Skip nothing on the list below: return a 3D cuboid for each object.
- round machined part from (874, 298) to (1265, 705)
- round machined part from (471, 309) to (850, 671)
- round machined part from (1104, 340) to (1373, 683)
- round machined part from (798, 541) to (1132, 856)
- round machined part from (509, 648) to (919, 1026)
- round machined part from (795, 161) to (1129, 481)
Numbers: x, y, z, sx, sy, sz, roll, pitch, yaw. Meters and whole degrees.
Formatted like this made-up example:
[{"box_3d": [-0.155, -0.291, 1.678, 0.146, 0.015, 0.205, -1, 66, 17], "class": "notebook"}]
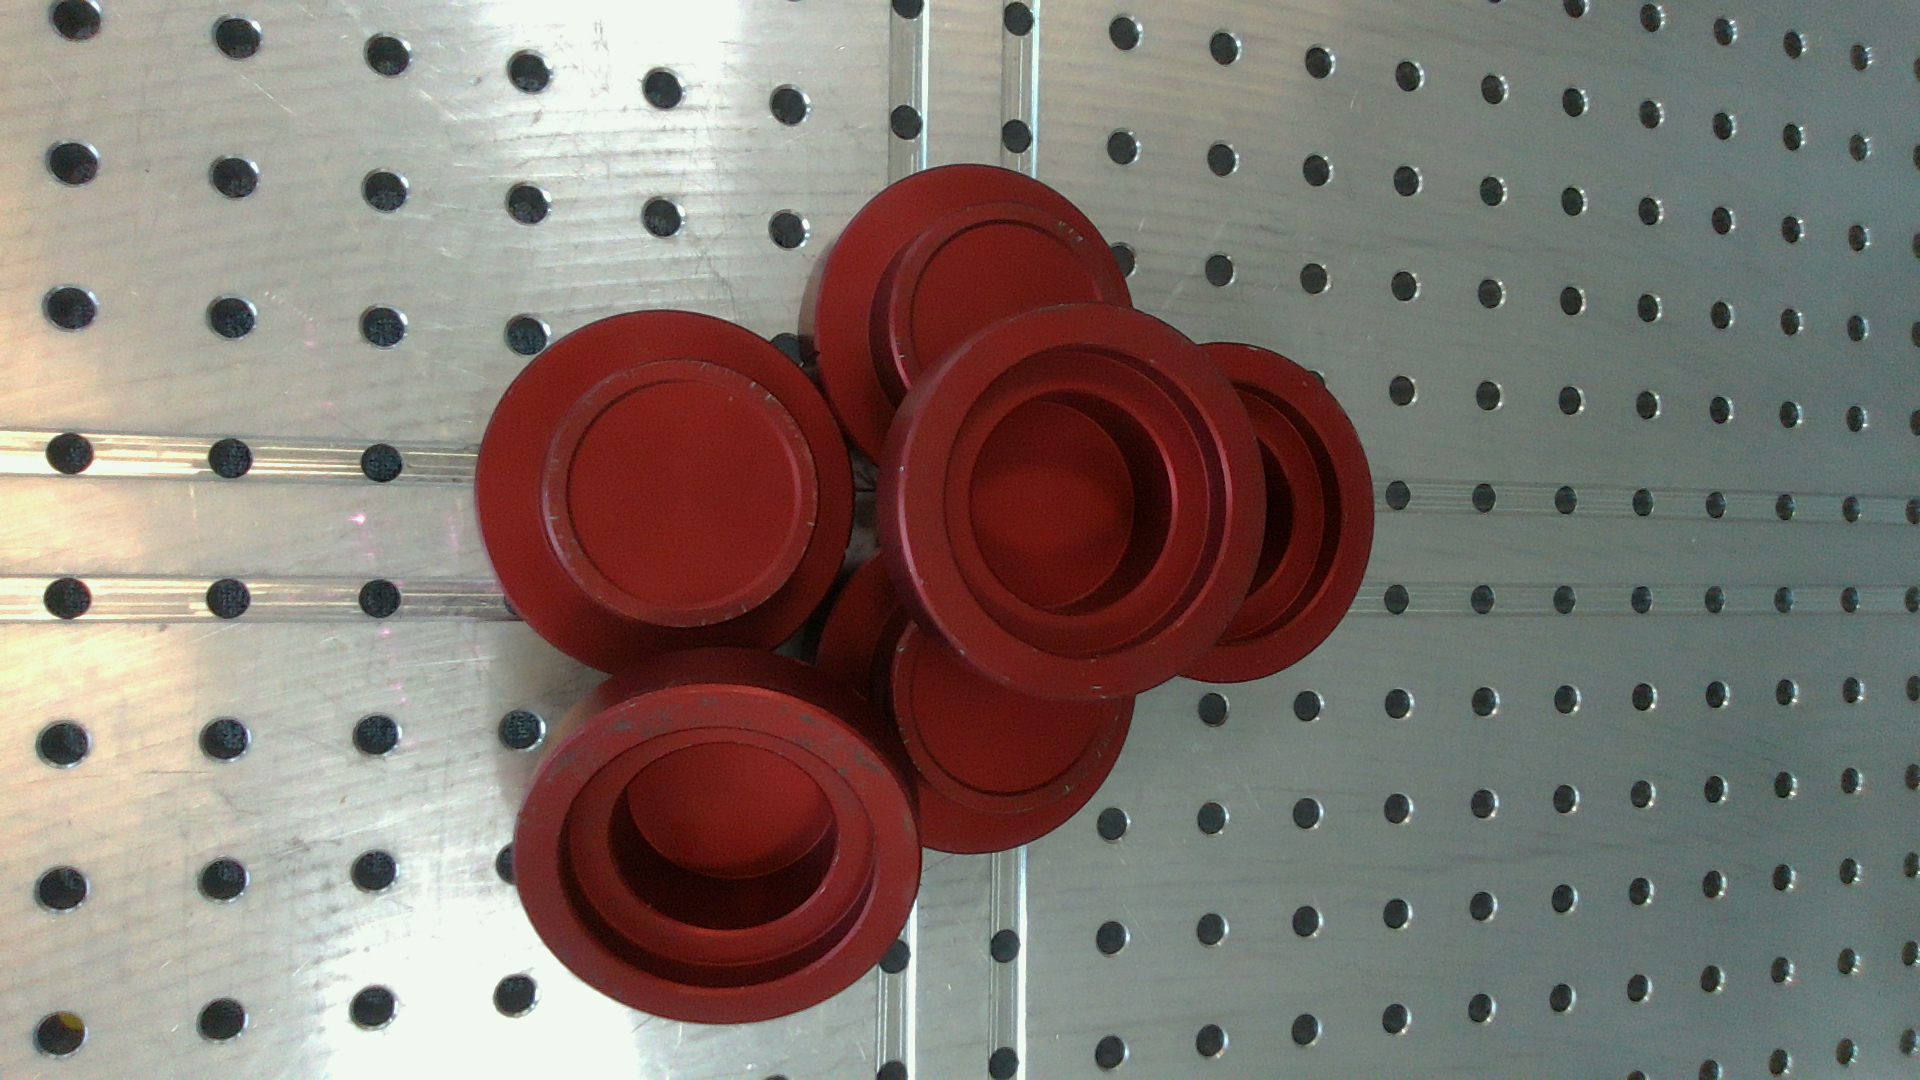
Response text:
[{"box_3d": [0.025, -0.009, 0.350, 0.098, 0.042, 0.098, 0, 90, -20], "class": "round machined part"}, {"box_3d": [-0.076, -0.012, 0.359, 0.098, 0.042, 0.098, 0, 90, -20], "class": "round machined part"}, {"box_3d": [0.070, -0.008, 0.412, 0.098, 0.042, 0.098, 0, 90, -20], "class": "round machined part"}, {"box_3d": [0.006, 0.040, 0.389, 0.098, 0.042, 0.098, 0, 90, -20], "class": "round machined part"}, {"box_3d": [-0.060, 0.071, 0.351, 0.098, 0.042, 0.098, -2, 112, -4], "class": "round machined part"}, {"box_3d": [0.006, -0.058, 0.389, 0.098, 0.042, 0.098, 0, 90, -20], "class": "round machined part"}]
